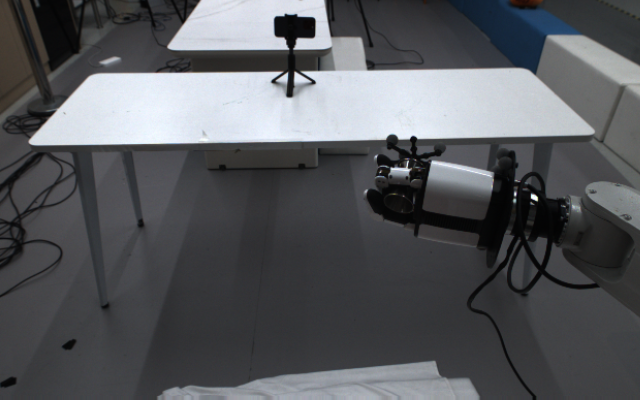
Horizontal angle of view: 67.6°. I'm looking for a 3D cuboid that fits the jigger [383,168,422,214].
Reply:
[{"bbox_3d":[0.123,-0.022,0.682,0.043,0.043,0.071,13,58,15],"label":"jigger"}]
